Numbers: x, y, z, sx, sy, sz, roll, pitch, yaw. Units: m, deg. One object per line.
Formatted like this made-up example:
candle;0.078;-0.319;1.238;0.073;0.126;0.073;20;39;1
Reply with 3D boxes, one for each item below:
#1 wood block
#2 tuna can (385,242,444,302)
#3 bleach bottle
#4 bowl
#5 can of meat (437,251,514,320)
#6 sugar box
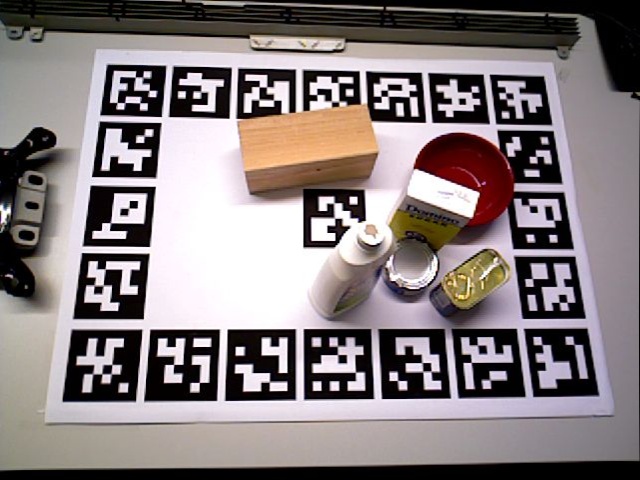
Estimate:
wood block;-0.018;-0.139;0.839;0.204;0.091;0.090;-8;76;-7
tuna can;0.138;0.049;0.809;0.085;0.034;0.085;0;75;-2
bleach bottle;0.047;0.034;0.697;0.101;0.254;0.067;-24;73;-12
bowl;0.238;-0.089;0.850;0.161;0.056;0.160;-1;71;1
can of meat;0.225;0.067;0.787;0.100;0.085;0.057;-29;72;-14
sugar box;0.165;-0.034;0.761;0.093;0.178;0.045;20;72;7
